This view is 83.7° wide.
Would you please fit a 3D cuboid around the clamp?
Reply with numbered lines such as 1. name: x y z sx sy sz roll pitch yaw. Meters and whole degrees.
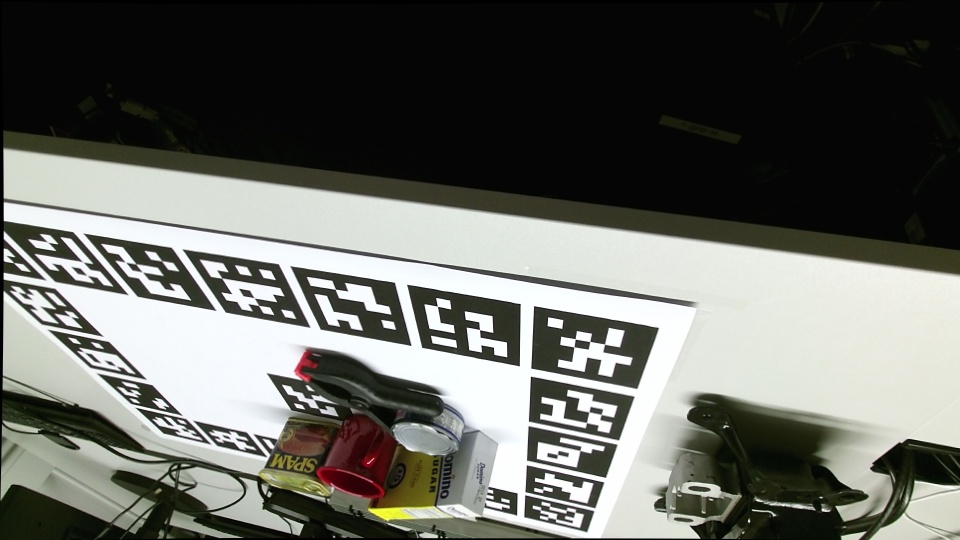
1. clamp: -0.137 0.140 0.621 0.165 0.036 0.122 36 140 -11

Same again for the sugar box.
1. sugar box: -0.066 0.270 0.689 0.177 0.092 0.045 -23 125 38

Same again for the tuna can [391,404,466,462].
1. tuna can: -0.061 0.193 0.641 0.086 0.033 0.086 10 135 10

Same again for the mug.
1. mug: -0.157 0.248 0.694 0.093 0.081 0.117 26 135 -7

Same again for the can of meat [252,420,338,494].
1. can of meat: -0.251 0.264 0.755 0.102 0.083 0.058 3 137 19
